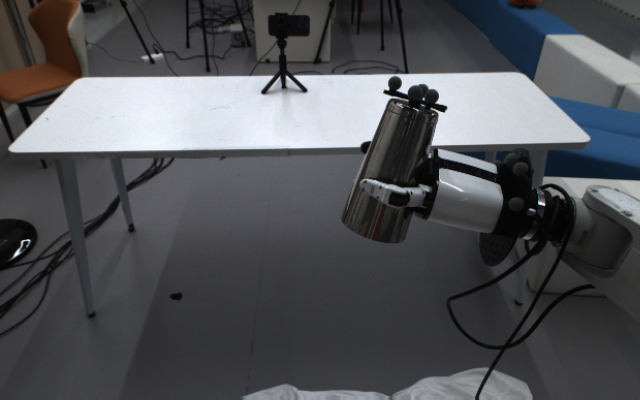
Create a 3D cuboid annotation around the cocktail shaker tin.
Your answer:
[{"bbox_3d":[0.096,-0.041,0.634,0.093,0.170,0.093,15,20,-5],"label":"cocktail shaker tin"}]
